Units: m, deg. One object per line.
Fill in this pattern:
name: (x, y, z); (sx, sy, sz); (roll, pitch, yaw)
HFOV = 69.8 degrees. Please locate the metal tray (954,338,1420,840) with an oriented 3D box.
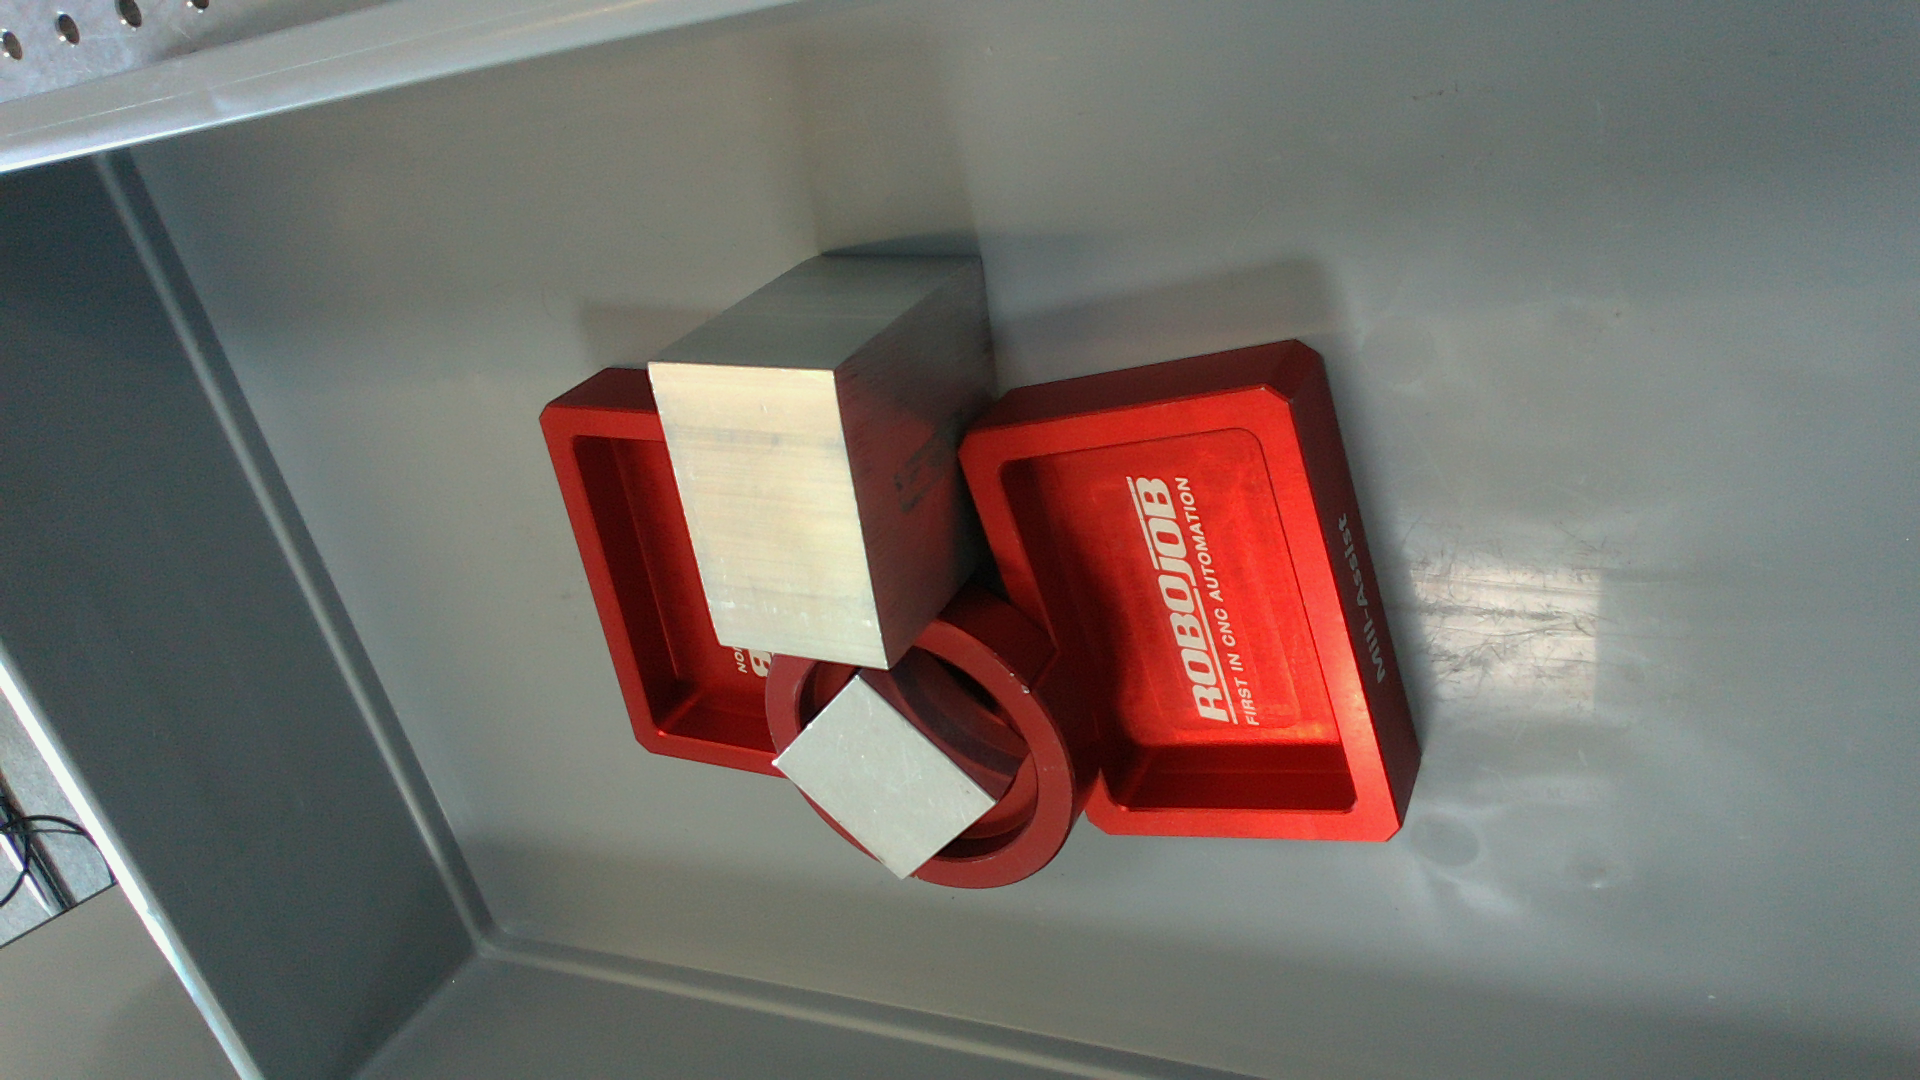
metal tray: (0.062, 0.019, 0.366); (0.090, 0.030, 0.130); (-7, 115, 31)

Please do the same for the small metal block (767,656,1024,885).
small metal block: (-0.018, 0.061, 0.384); (0.050, 0.025, 0.050); (43, 129, -1)

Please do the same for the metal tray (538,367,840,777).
metal tray: (-0.073, 0.013, 0.435); (0.090, 0.030, 0.130); (6, 121, 25)

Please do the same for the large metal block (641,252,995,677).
large metal block: (-0.029, -0.023, 0.357); (0.050, 0.080, 0.080); (6, 121, 25)

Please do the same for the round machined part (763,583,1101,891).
round machined part: (-0.005, 0.051, 0.402); (0.098, 0.042, 0.098); (13, 124, 21)
